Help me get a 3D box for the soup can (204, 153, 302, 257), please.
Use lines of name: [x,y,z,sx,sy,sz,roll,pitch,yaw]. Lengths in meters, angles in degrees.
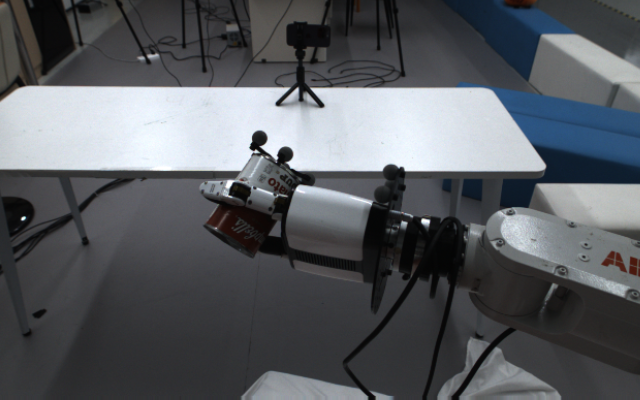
soup can: [-0.075,0.007,0.551,0.067,0.067,0.101,24,73,28]
